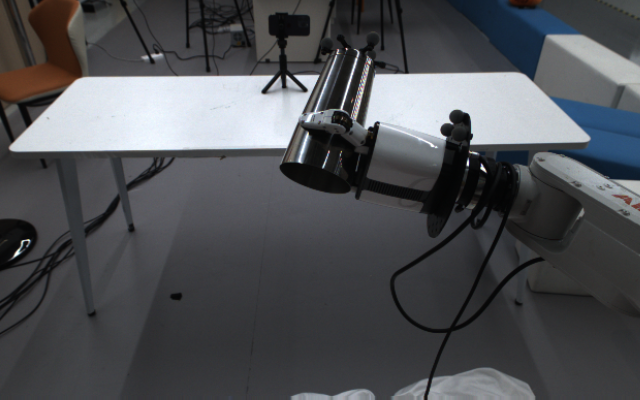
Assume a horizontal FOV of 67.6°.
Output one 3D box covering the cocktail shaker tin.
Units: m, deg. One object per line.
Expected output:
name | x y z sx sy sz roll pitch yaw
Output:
cocktail shaker tin | 0.018 -0.104 0.618 0.093 0.093 0.170 13 73 15
